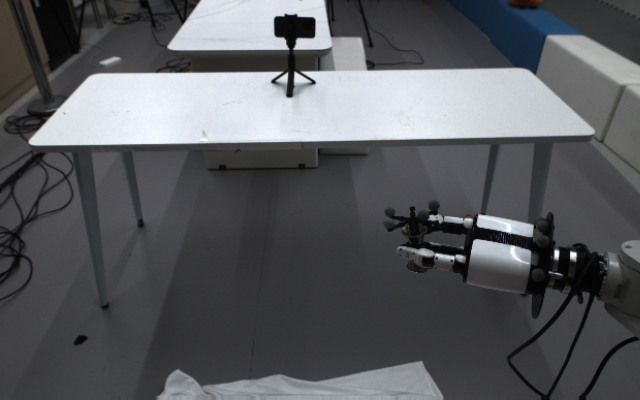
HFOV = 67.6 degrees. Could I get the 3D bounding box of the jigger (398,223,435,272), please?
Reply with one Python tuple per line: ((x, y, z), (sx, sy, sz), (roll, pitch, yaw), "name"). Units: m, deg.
((0.156, 0.076, 0.776), (0.043, 0.071, 0.043), (-12, 24, 5), "jigger")
